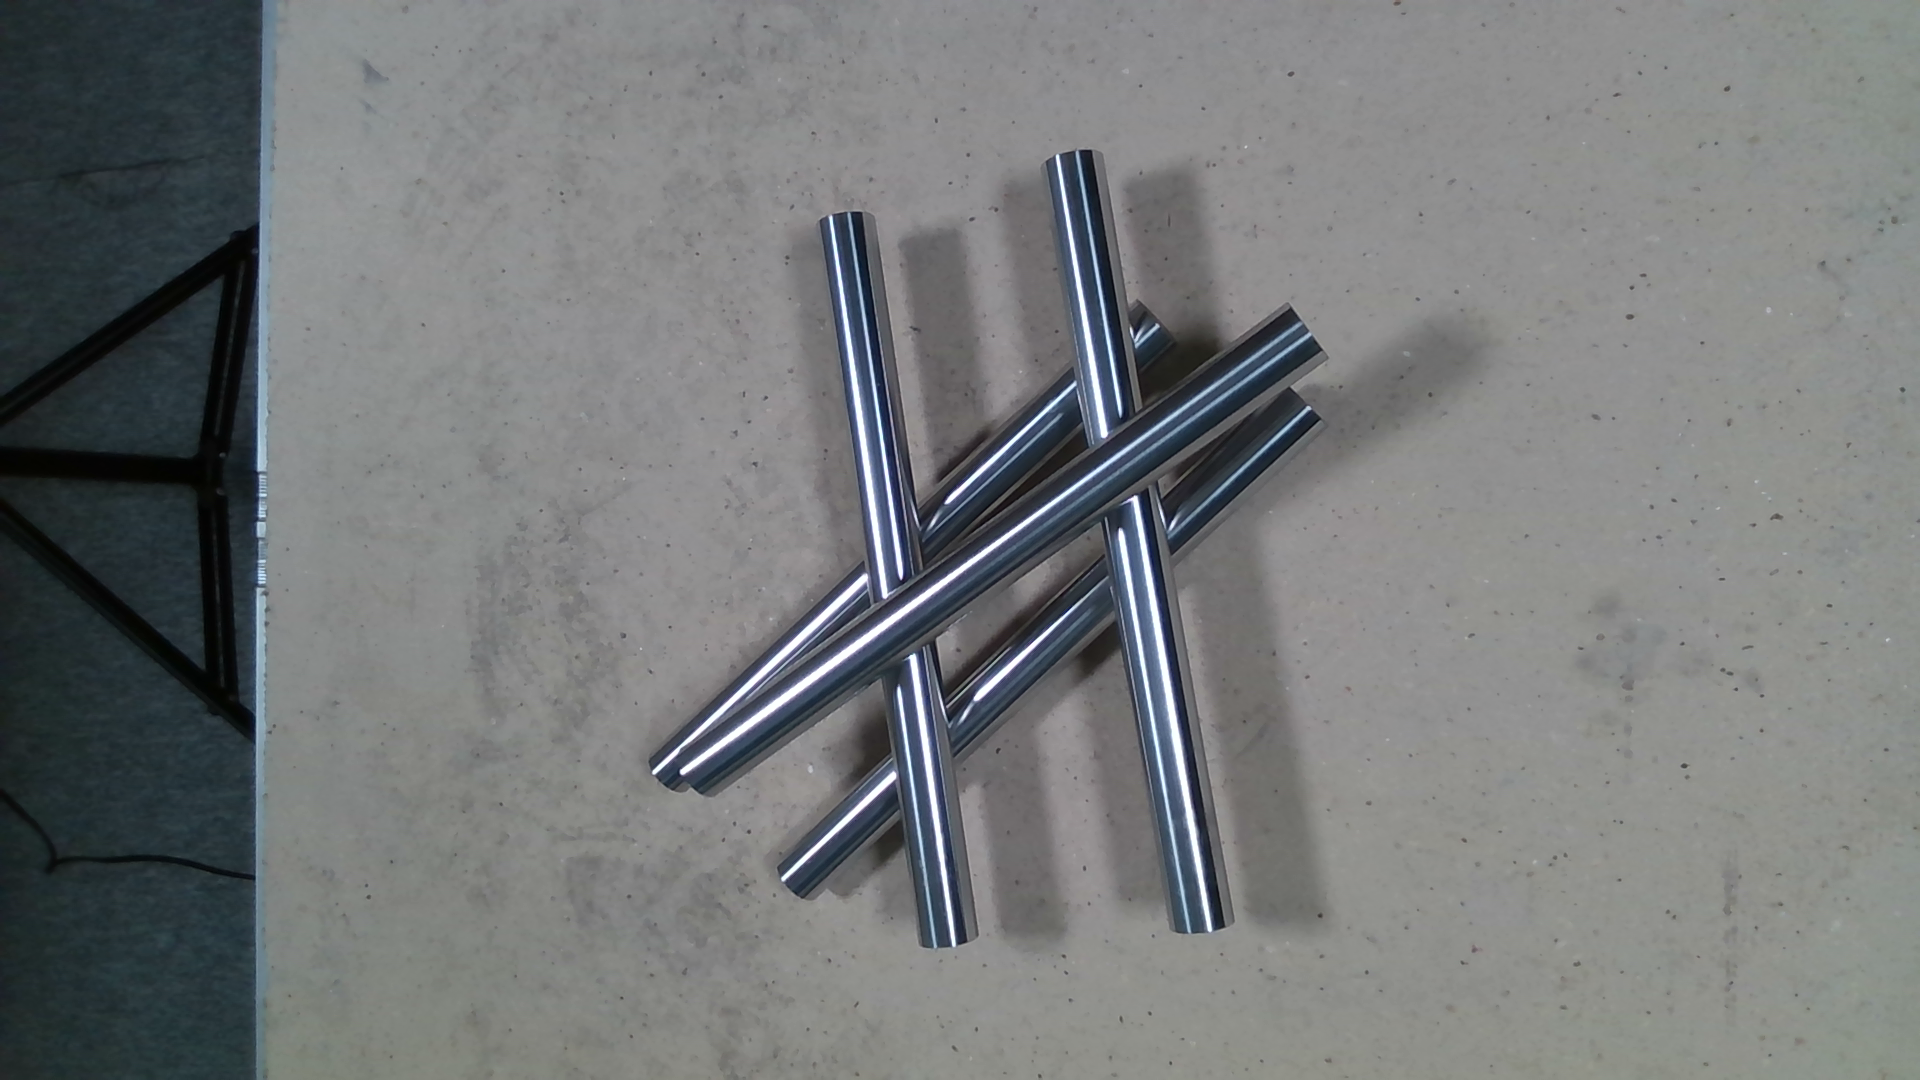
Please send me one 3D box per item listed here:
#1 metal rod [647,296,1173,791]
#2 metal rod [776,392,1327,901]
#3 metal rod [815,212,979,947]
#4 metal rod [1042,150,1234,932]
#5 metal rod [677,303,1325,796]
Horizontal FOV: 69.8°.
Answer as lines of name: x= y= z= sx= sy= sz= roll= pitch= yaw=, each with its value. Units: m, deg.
metal rod: x=-0.028 y=0.008 z=0.596 sx=0.300 sy=0.025 sz=0.025 roll=-42 pitch=77 yaw=16
metal rod: x=0.031 y=0.049 z=0.574 sx=0.300 sy=0.025 sz=0.025 roll=-45 pitch=76 yaw=15
metal rod: x=-0.026 y=0.015 z=0.569 sx=0.025 sy=0.025 sz=0.300 roll=-9 pitch=87 yaw=20
metal rod: x=0.068 y=-0.001 z=0.534 sx=0.025 sy=0.025 sz=0.300 roll=-10 pitch=87 yaw=20
metal rod: x=0.007 y=0.011 z=0.530 sx=0.300 sy=0.025 sz=0.025 roll=-36 pitch=78 yaw=17
